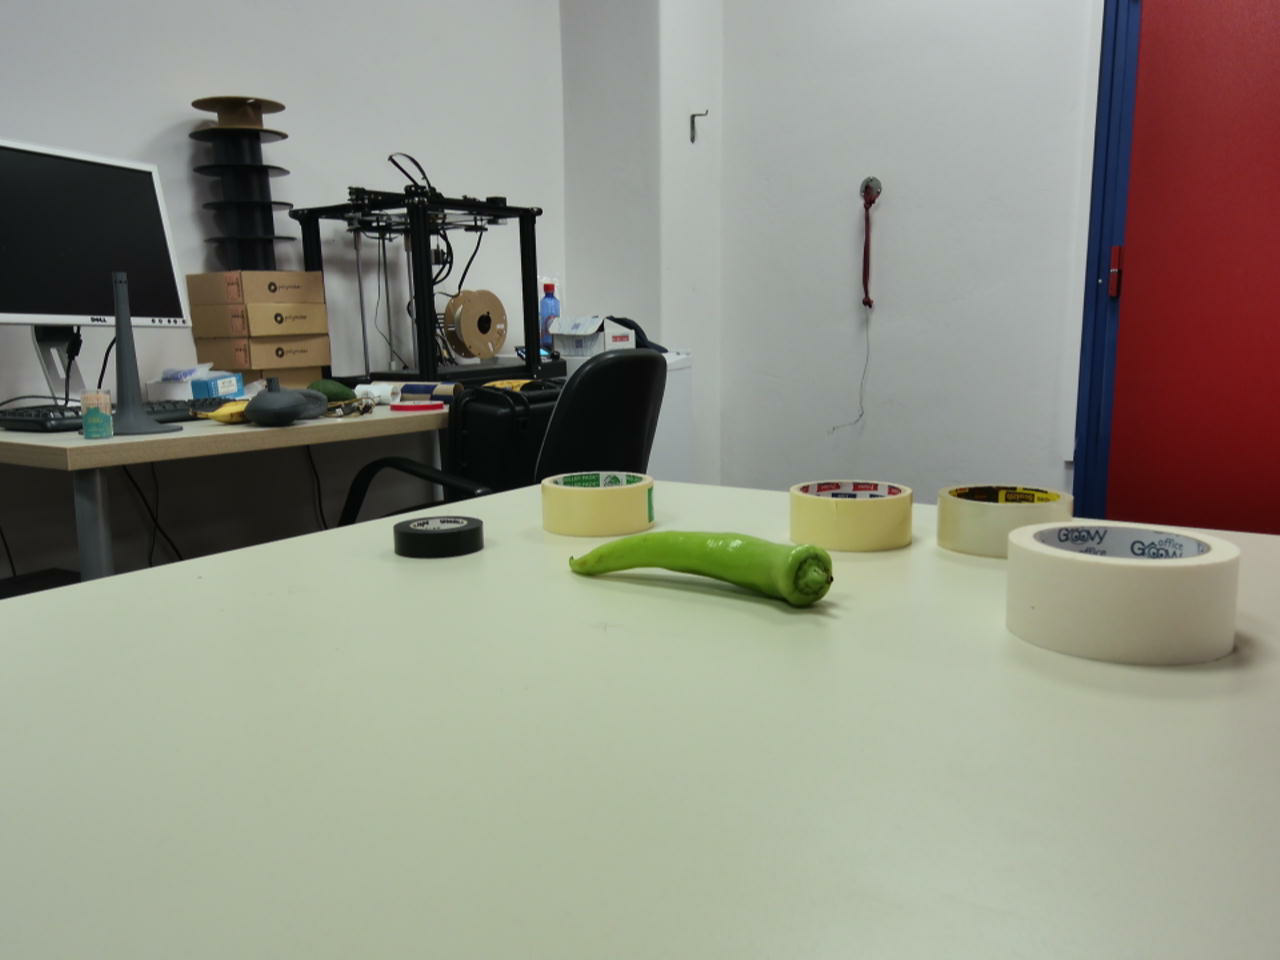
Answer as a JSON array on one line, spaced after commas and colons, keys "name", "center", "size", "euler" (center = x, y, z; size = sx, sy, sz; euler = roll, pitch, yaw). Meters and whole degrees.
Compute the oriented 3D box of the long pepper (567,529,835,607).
[{"name": "long pepper", "center": [0.037, 0.049, 0.625], "size": [0.197, 0.038, 0.046], "euler": [6, 8, 37]}]
